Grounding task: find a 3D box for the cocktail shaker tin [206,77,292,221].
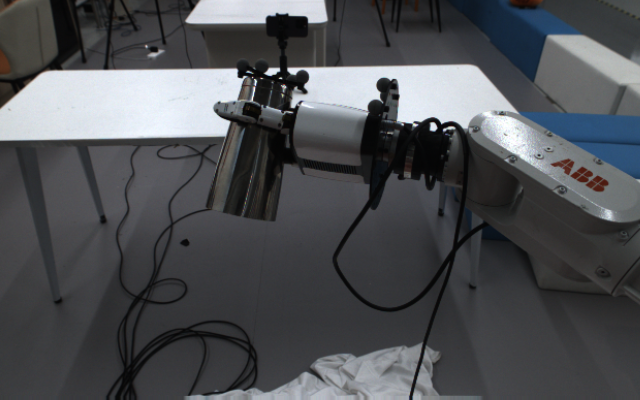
[{"bbox_3d":[-0.081,-0.068,0.624,0.093,0.170,0.093,13,1,0],"label":"cocktail shaker tin"}]
